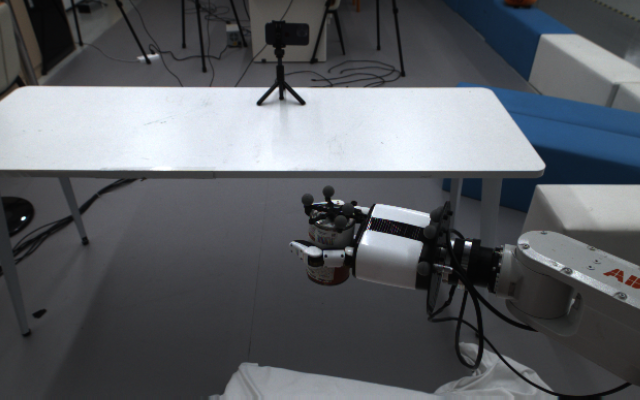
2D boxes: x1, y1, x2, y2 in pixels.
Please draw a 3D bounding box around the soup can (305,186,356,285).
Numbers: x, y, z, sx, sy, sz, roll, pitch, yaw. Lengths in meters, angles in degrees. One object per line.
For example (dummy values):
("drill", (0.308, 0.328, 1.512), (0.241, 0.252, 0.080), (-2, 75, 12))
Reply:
("soup can", (0.016, 0.066, 0.706), (0.067, 0.101, 0.067), (3, 30, -2))
